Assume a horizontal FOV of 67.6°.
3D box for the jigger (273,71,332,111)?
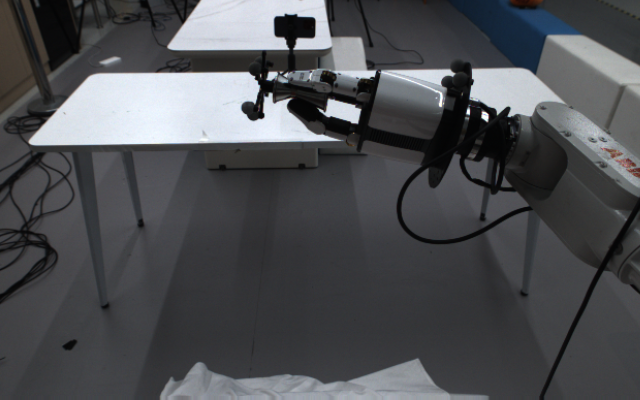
[{"bbox_3d":[-0.020,-0.143,0.621,0.071,0.043,0.043,8,35,1],"label":"jigger"}]
